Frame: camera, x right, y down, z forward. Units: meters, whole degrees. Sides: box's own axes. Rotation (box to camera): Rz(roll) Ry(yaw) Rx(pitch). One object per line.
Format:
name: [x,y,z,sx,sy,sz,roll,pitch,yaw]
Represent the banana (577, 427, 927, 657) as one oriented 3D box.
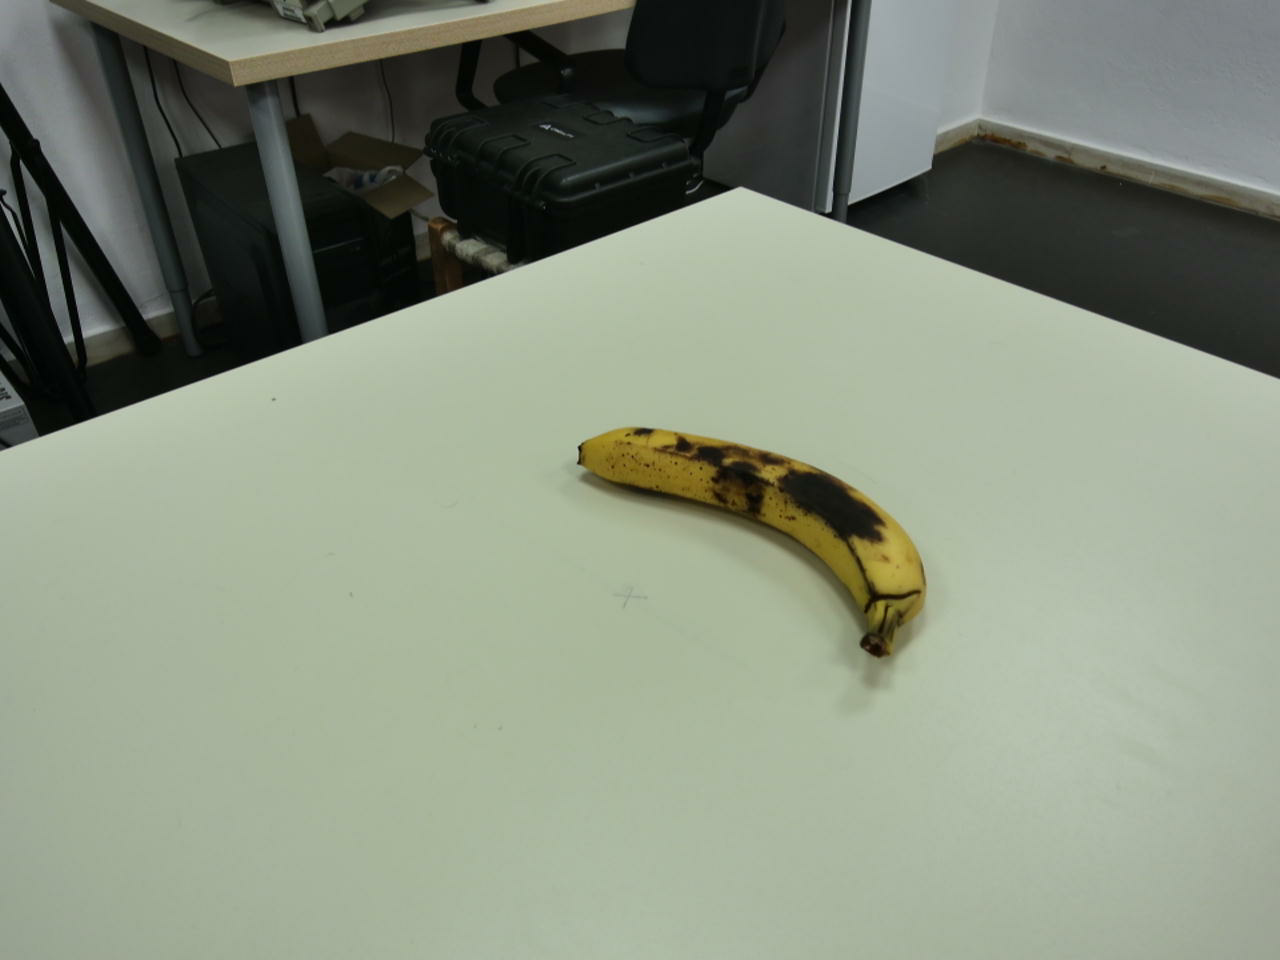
banana: [0.064,0.014,0.526,0.084,0.037,0.222,-27,43,-31]
